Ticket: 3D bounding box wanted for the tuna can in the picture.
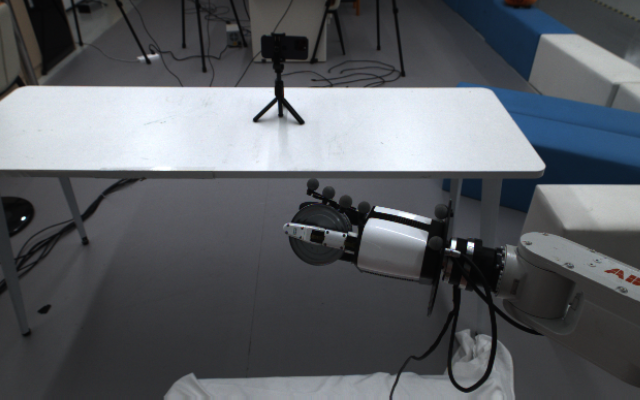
[{"bbox_3d":[0.004,0.046,0.674,0.085,0.085,0.034,14,2,16],"label":"tuna can"}]
